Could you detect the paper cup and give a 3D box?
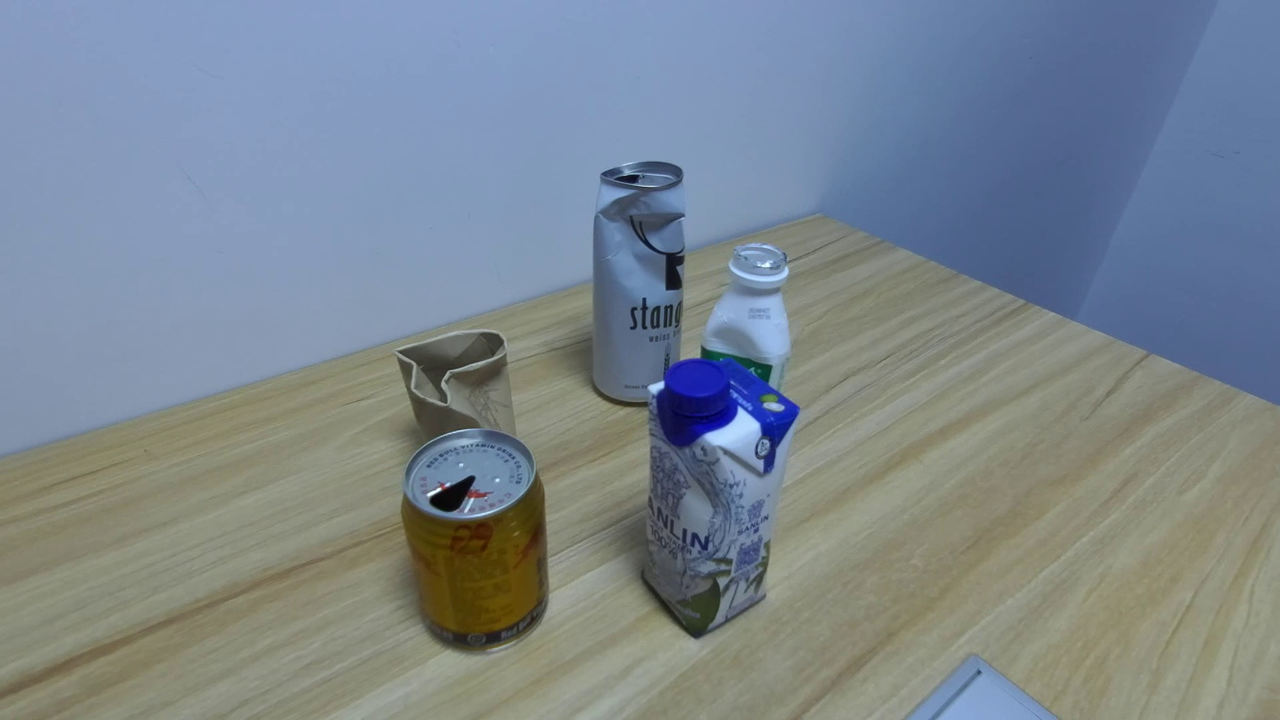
[{"bbox_3d":[-0.105,0.033,0.438,0.067,0.083,0.058,-18,41,-24],"label":"paper cup"}]

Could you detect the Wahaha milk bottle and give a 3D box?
[{"bbox_3d":[0.066,-0.002,0.435,0.055,0.149,0.055,1,41,-1],"label":"Wahaha milk bottle"}]

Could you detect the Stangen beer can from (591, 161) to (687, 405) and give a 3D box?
[{"bbox_3d":[-0.001,-0.050,0.492,0.066,0.166,0.066,1,33,-3],"label":"Stangen beer can"}]

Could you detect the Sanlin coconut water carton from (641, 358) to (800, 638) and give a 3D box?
[{"bbox_3d":[0.036,0.063,0.346,0.061,0.144,0.060,-18,37,-30],"label":"Sanlin coconut water carton"}]

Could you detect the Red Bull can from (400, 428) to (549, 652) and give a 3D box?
[{"bbox_3d":[-0.078,0.089,0.346,0.067,0.093,0.067,3,33,-2],"label":"Red Bull can"}]
